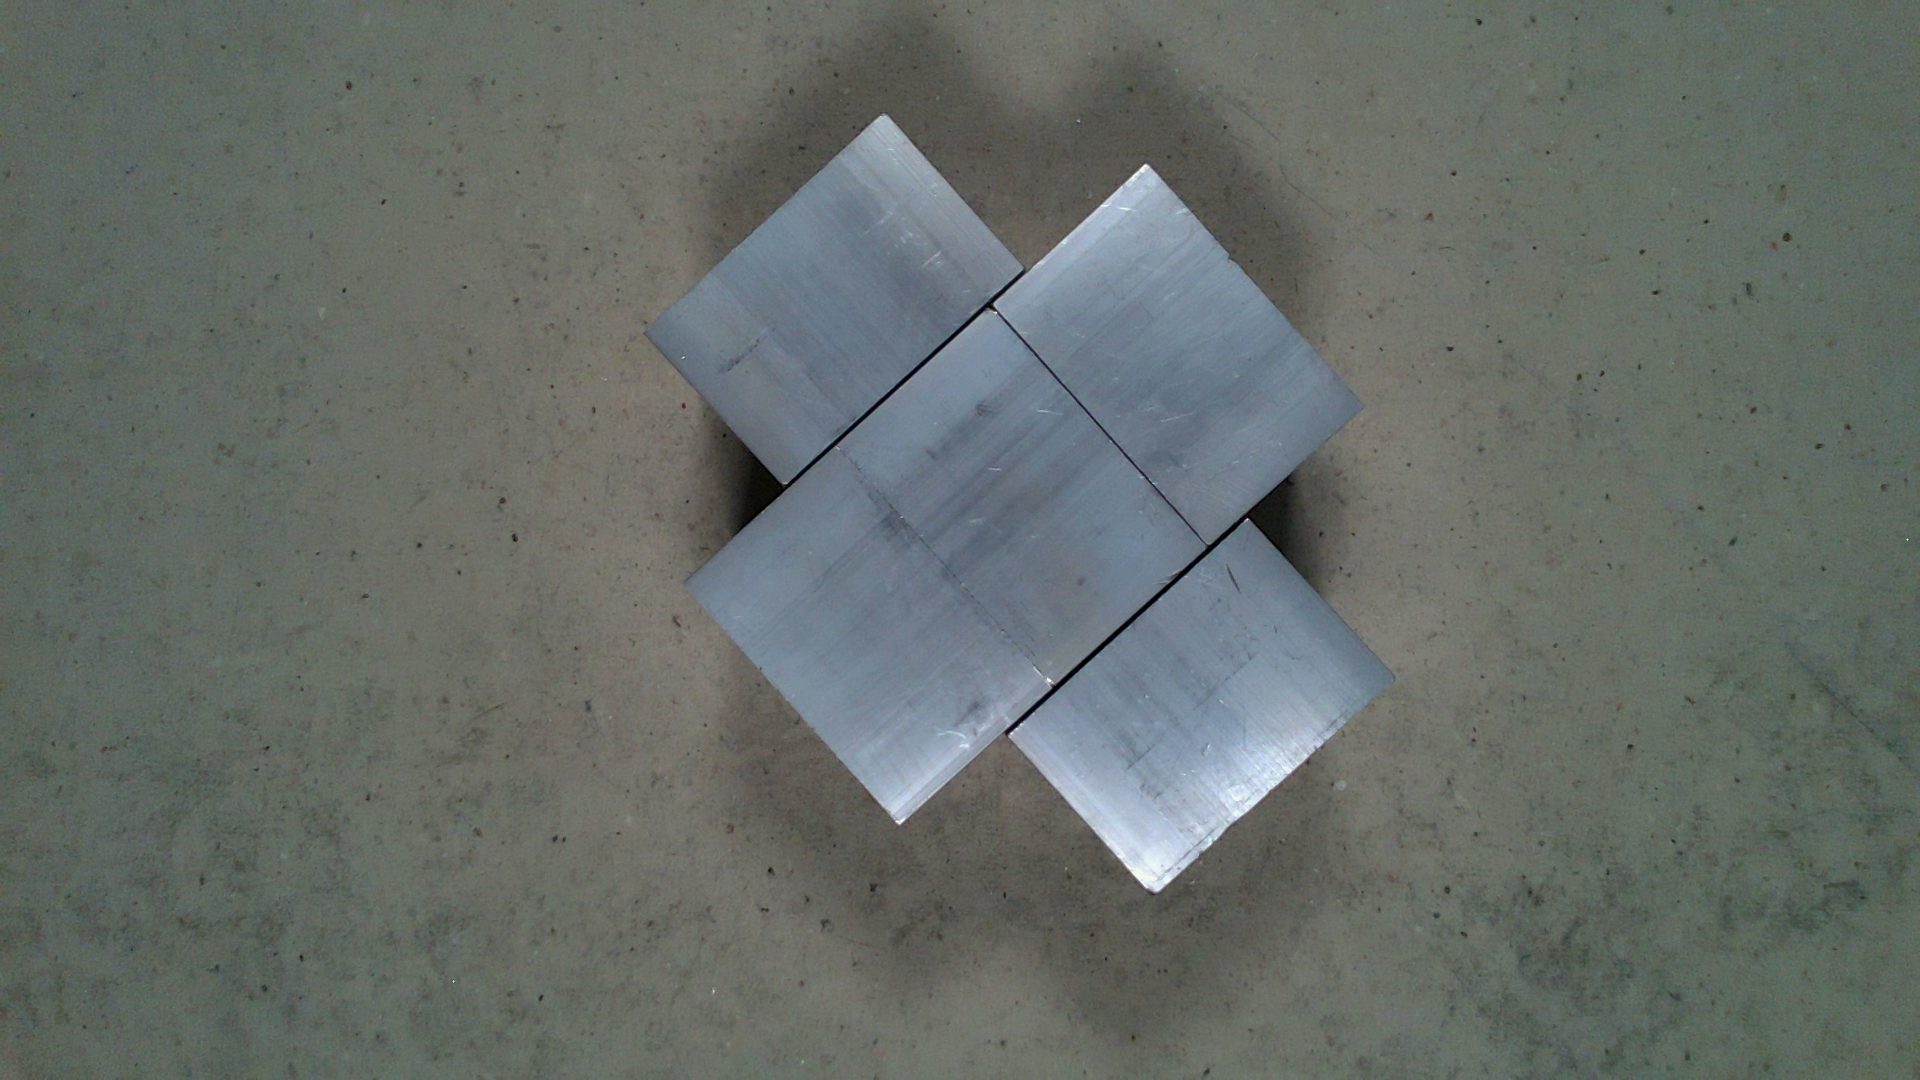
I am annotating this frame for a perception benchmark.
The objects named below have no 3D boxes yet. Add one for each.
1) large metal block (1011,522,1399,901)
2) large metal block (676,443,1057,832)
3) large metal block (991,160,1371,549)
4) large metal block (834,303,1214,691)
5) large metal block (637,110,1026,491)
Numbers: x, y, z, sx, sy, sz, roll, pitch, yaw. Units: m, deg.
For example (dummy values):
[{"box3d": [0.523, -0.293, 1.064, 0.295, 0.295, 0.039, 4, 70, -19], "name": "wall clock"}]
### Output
[{"box3d": [0.059, 0.041, 0.369, 0.080, 0.080, 0.050, -42, 90, 0], "name": "large metal block"}, {"box3d": [-0.022, 0.023, 0.368, 0.050, 0.080, 0.080, -42, 90, 0], "name": "large metal block"}, {"box3d": [0.053, -0.045, 0.368, 0.050, 0.080, 0.080, -42, 90, 0], "name": "large metal block"}, {"box3d": [0.016, -0.010, 0.368, 0.050, 0.080, 0.080, -42, 90, 0], "name": "large metal block"}, {"box3d": [-0.030, -0.057, 0.368, 0.080, 0.080, 0.050, -42, 90, 0], "name": "large metal block"}]
